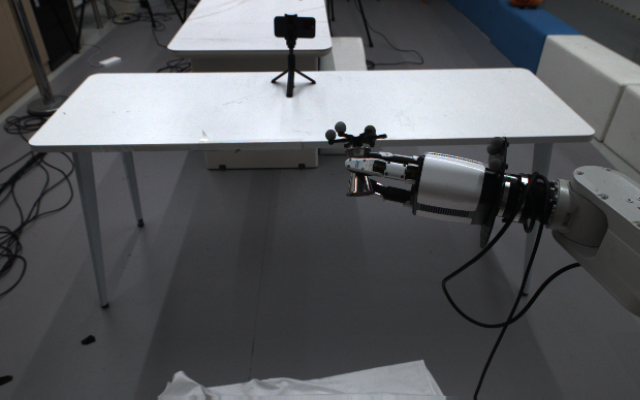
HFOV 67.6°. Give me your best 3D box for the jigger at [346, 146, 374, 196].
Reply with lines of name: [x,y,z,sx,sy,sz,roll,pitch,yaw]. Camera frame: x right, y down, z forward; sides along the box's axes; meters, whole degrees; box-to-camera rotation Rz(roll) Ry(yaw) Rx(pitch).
jigger: [0.058,-0.042,0.721,0.043,0.071,0.043,-2,-7,0]
